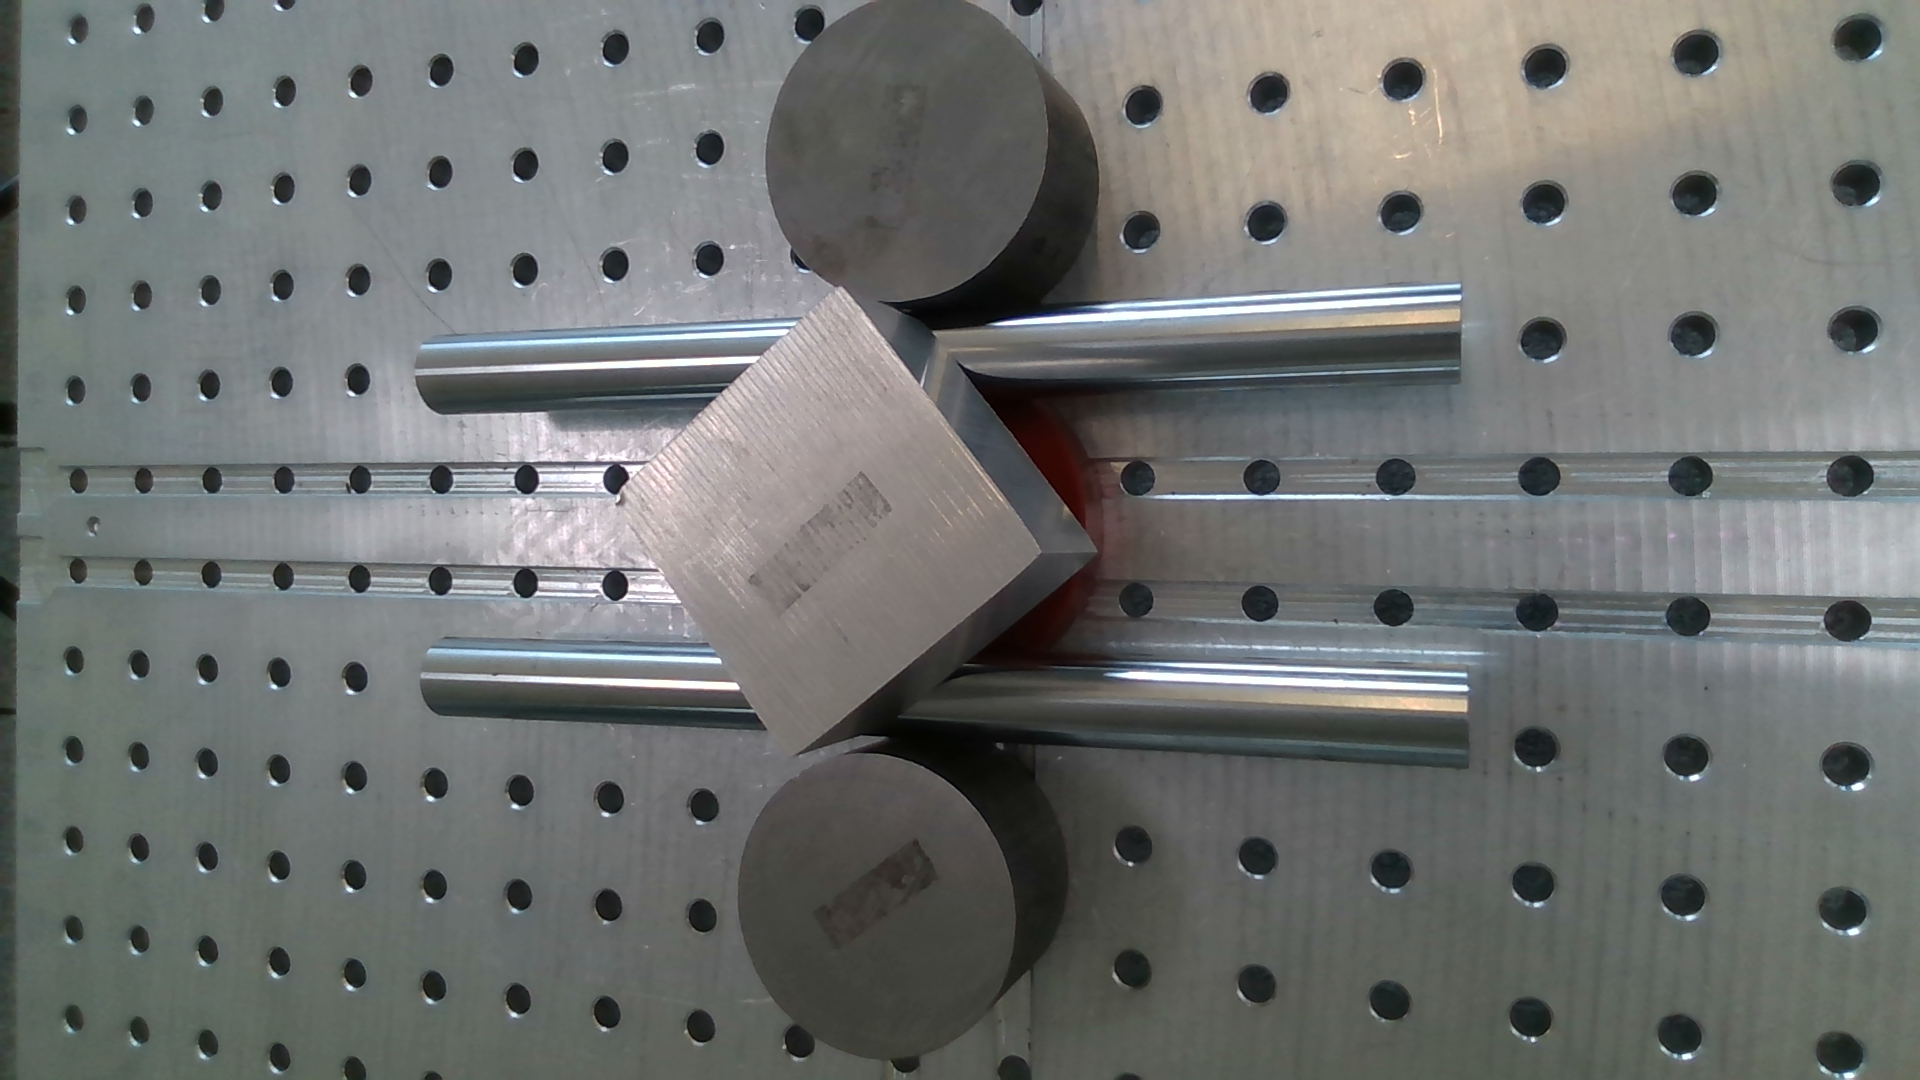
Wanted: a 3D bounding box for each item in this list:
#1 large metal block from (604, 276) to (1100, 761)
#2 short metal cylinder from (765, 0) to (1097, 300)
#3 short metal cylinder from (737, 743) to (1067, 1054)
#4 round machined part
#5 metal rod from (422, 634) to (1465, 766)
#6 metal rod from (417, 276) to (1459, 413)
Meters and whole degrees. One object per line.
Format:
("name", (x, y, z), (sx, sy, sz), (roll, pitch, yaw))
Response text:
("large metal block", (-0.026, -0.004, 0.342), (0.080, 0.050, 0.080), (-40, 77, 16))
("short metal cylinder", (-0.007, -0.104, 0.385), (0.080, 0.050, 0.080), (0, 90, 20))
("short metal cylinder", (-0.015, 0.096, 0.389), (0.080, 0.050, 0.080), (0, 90, 20))
("round machined part", (-0.012, -0.005, 0.392), (0.098, 0.042, 0.098), (0, 90, 20))
("metal rod", (-0.020, 0.042, 0.382), (0.300, 0.025, 0.025), (0, 90, 20))
("metal rod", (-0.021, -0.051, 0.382), (0.300, 0.025, 0.025), (0, 90, 20))
